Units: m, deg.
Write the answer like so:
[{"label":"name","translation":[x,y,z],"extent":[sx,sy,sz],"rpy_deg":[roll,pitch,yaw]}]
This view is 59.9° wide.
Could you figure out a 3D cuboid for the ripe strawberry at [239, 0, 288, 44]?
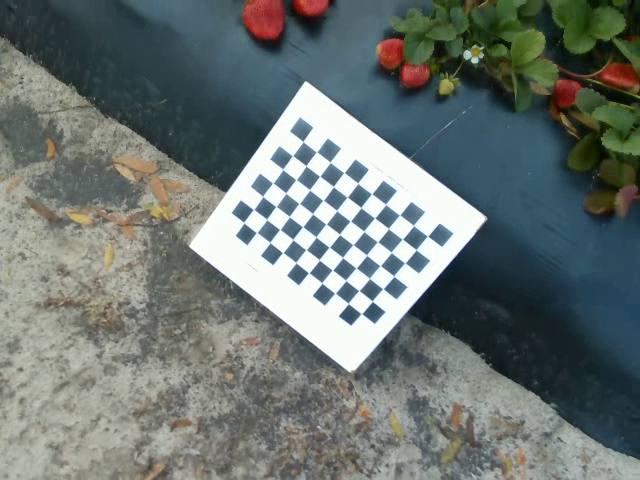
[{"label":"ripe strawberry","translation":[-0.079,-0.289,0.719],"extent":[0.058,0.065,0.043],"rpy_deg":[-23,-12,21]}]

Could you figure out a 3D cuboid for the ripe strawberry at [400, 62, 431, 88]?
[{"label":"ripe strawberry","translation":[0.113,-0.216,0.705],"extent":[0.043,0.041,0.049],"rpy_deg":[33,43,6]}]

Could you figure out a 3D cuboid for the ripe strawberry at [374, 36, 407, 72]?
[{"label":"ripe strawberry","translation":[0.084,-0.246,0.718],"extent":[0.053,0.047,0.039],"rpy_deg":[6,20,-21]}]
